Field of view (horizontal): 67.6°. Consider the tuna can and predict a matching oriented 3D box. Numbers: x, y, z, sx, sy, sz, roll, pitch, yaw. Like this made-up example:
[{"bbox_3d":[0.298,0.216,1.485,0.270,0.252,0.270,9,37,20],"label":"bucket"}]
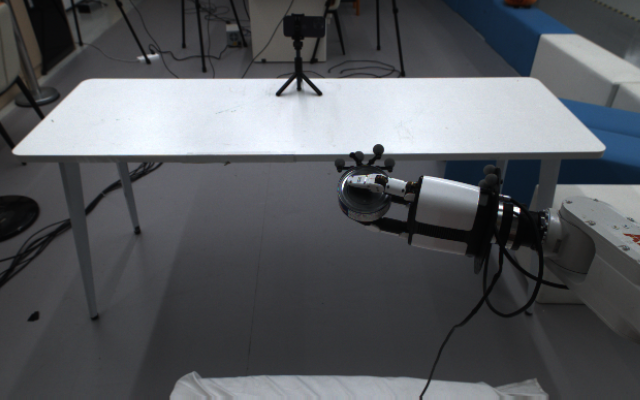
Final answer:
[{"bbox_3d":[0.070,-0.010,0.748,0.085,0.034,0.085,-2,57,3],"label":"tuna can"}]
